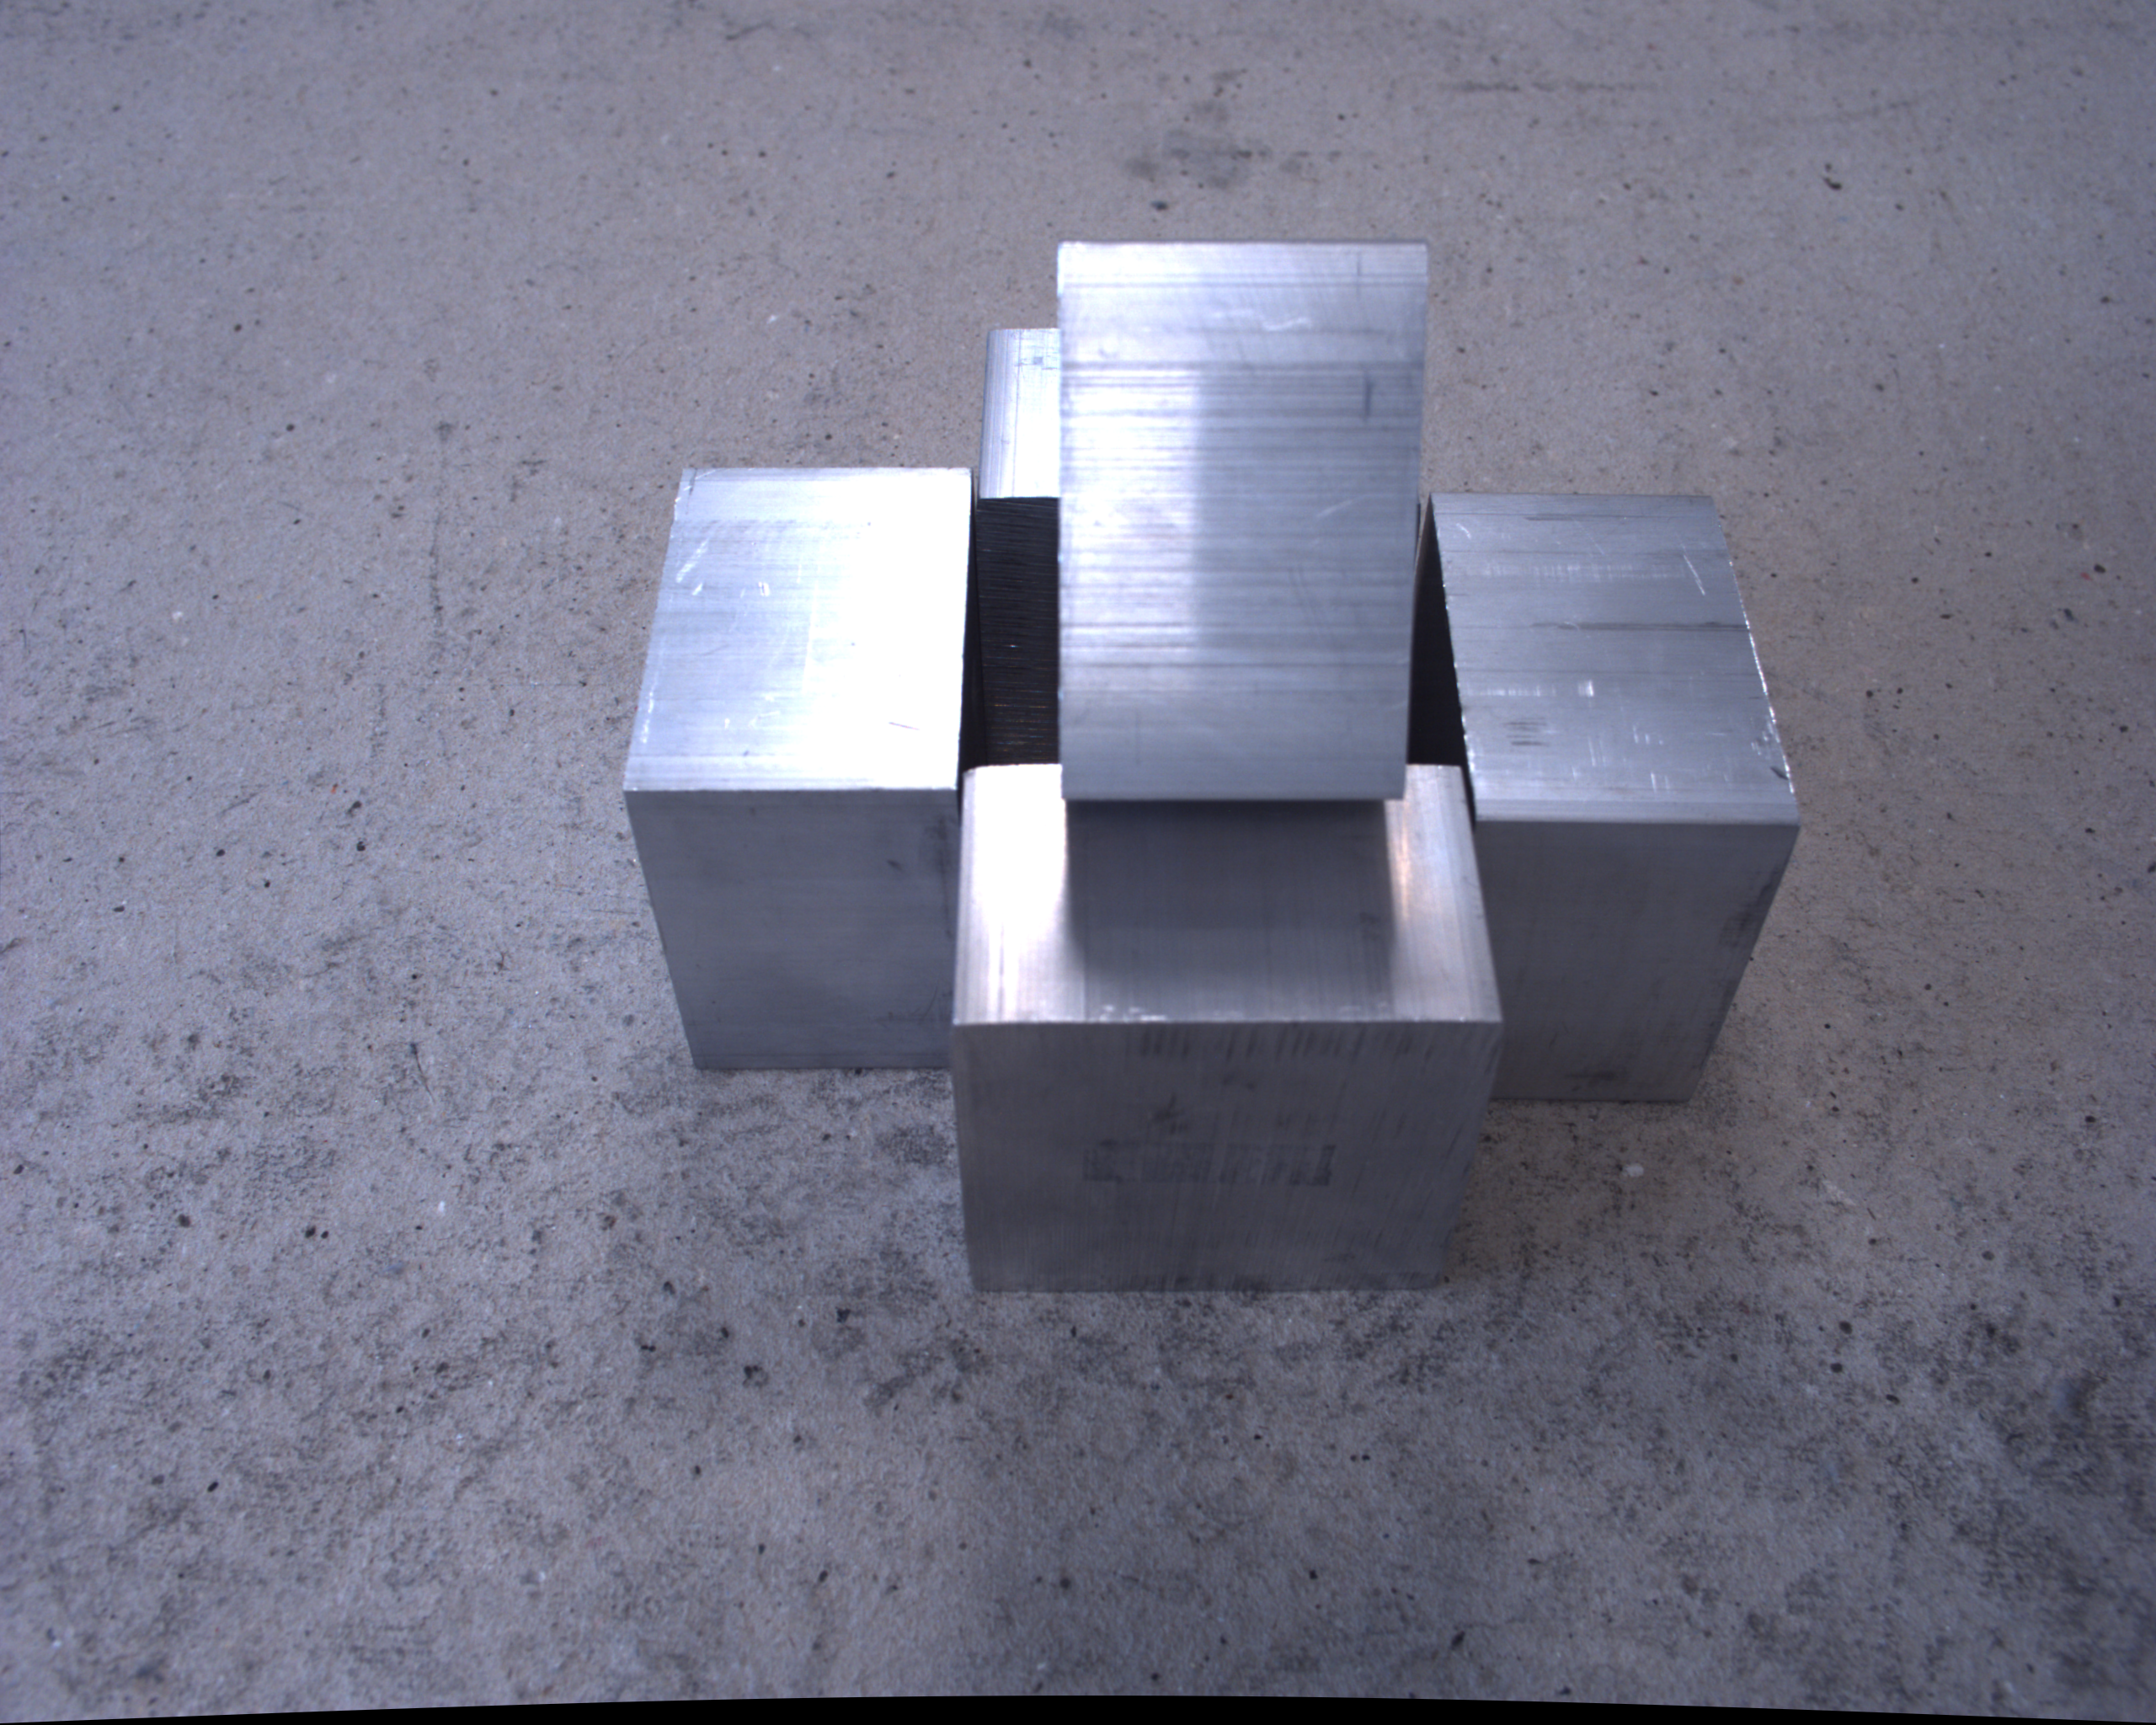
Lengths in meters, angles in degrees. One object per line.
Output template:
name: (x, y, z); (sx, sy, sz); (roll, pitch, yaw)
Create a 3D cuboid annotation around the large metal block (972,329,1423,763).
large metal block: (0.022, -0.059, 0.419); (0.080, 0.080, 0.050); (1, 50, 0)

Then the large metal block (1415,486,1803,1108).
large metal block: (0.088, -0.011, 0.379); (0.050, 0.080, 0.080); (1, 50, 0)

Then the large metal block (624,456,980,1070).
large metal block: (-0.045, -0.018, 0.382); (0.050, 0.080, 0.080); (0, 50, 0)

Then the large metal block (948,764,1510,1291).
large metal block: (0.022, 0.029, 0.345); (0.081, 0.080, 0.050); (0, 50, 0)

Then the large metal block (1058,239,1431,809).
large metal block: (0.023, -0.057, 0.332); (0.050, 0.079, 0.080); (1, 16, 1)
